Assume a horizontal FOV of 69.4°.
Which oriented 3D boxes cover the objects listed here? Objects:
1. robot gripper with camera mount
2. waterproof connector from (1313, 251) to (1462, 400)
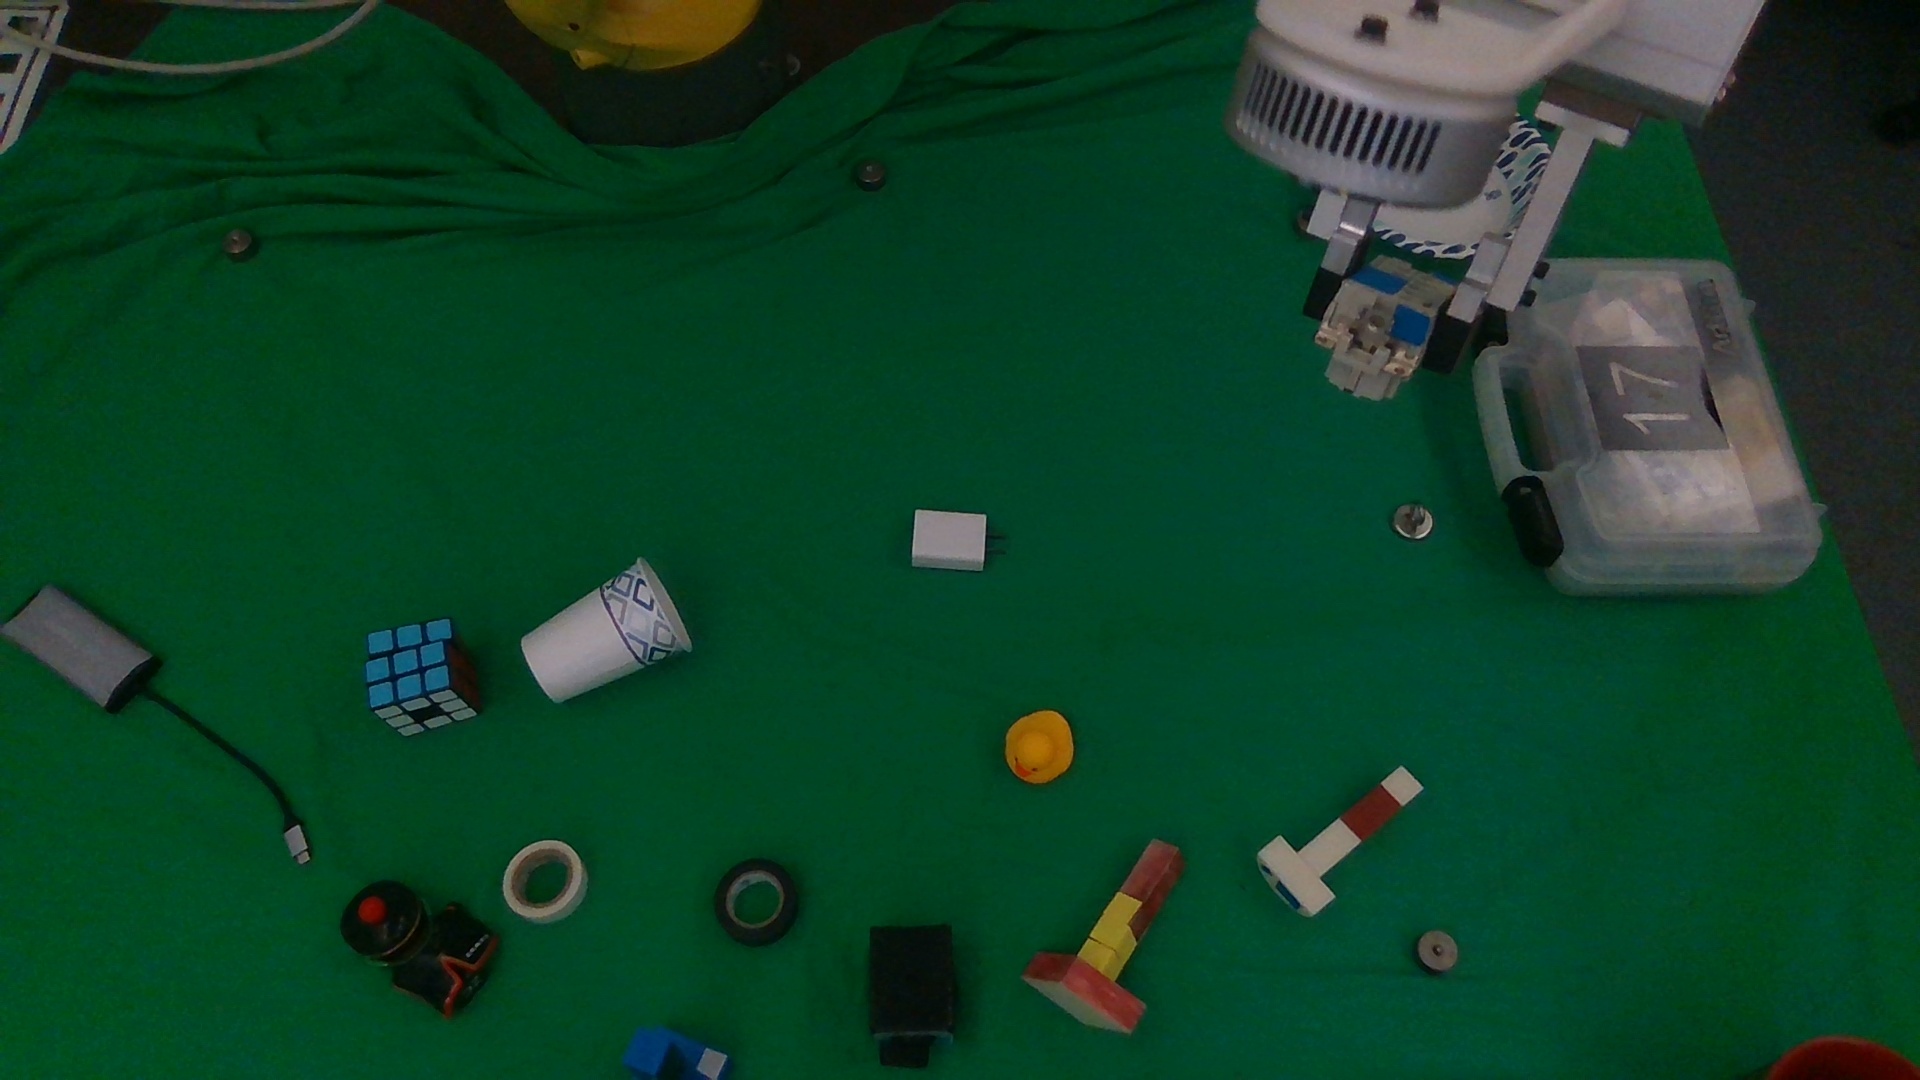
[{"bbox_3d":[0.119,-0.102,0.357,0.119,0.158,0.193,28,34,21],"label":"robot gripper with camera mount"},{"bbox_3d":[0.141,-0.071,0.462,0.035,0.037,0.065,27,34,17],"label":"waterproof connector"}]
